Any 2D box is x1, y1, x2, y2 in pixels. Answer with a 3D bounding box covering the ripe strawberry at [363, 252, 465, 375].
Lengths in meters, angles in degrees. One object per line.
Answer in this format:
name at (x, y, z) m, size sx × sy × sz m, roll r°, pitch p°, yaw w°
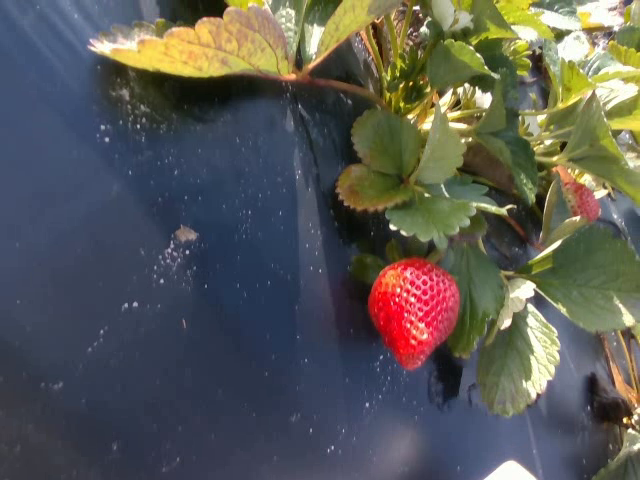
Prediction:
ripe strawberry at (0.033, 0.028, 0.226) m, size 0.041 × 0.041 × 0.047 m, roll 26°, pitch 33°, yaw -9°
